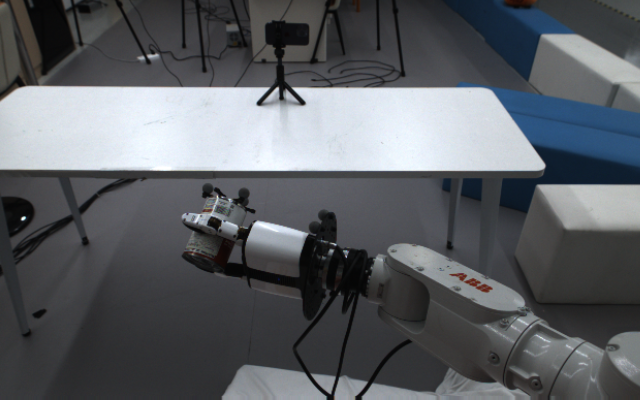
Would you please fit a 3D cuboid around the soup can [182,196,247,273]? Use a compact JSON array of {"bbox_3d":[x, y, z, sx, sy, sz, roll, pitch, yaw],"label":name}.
[{"bbox_3d":[-0.161,0.054,0.745,0.067,0.067,0.101,12,65,14],"label":"soup can"}]
